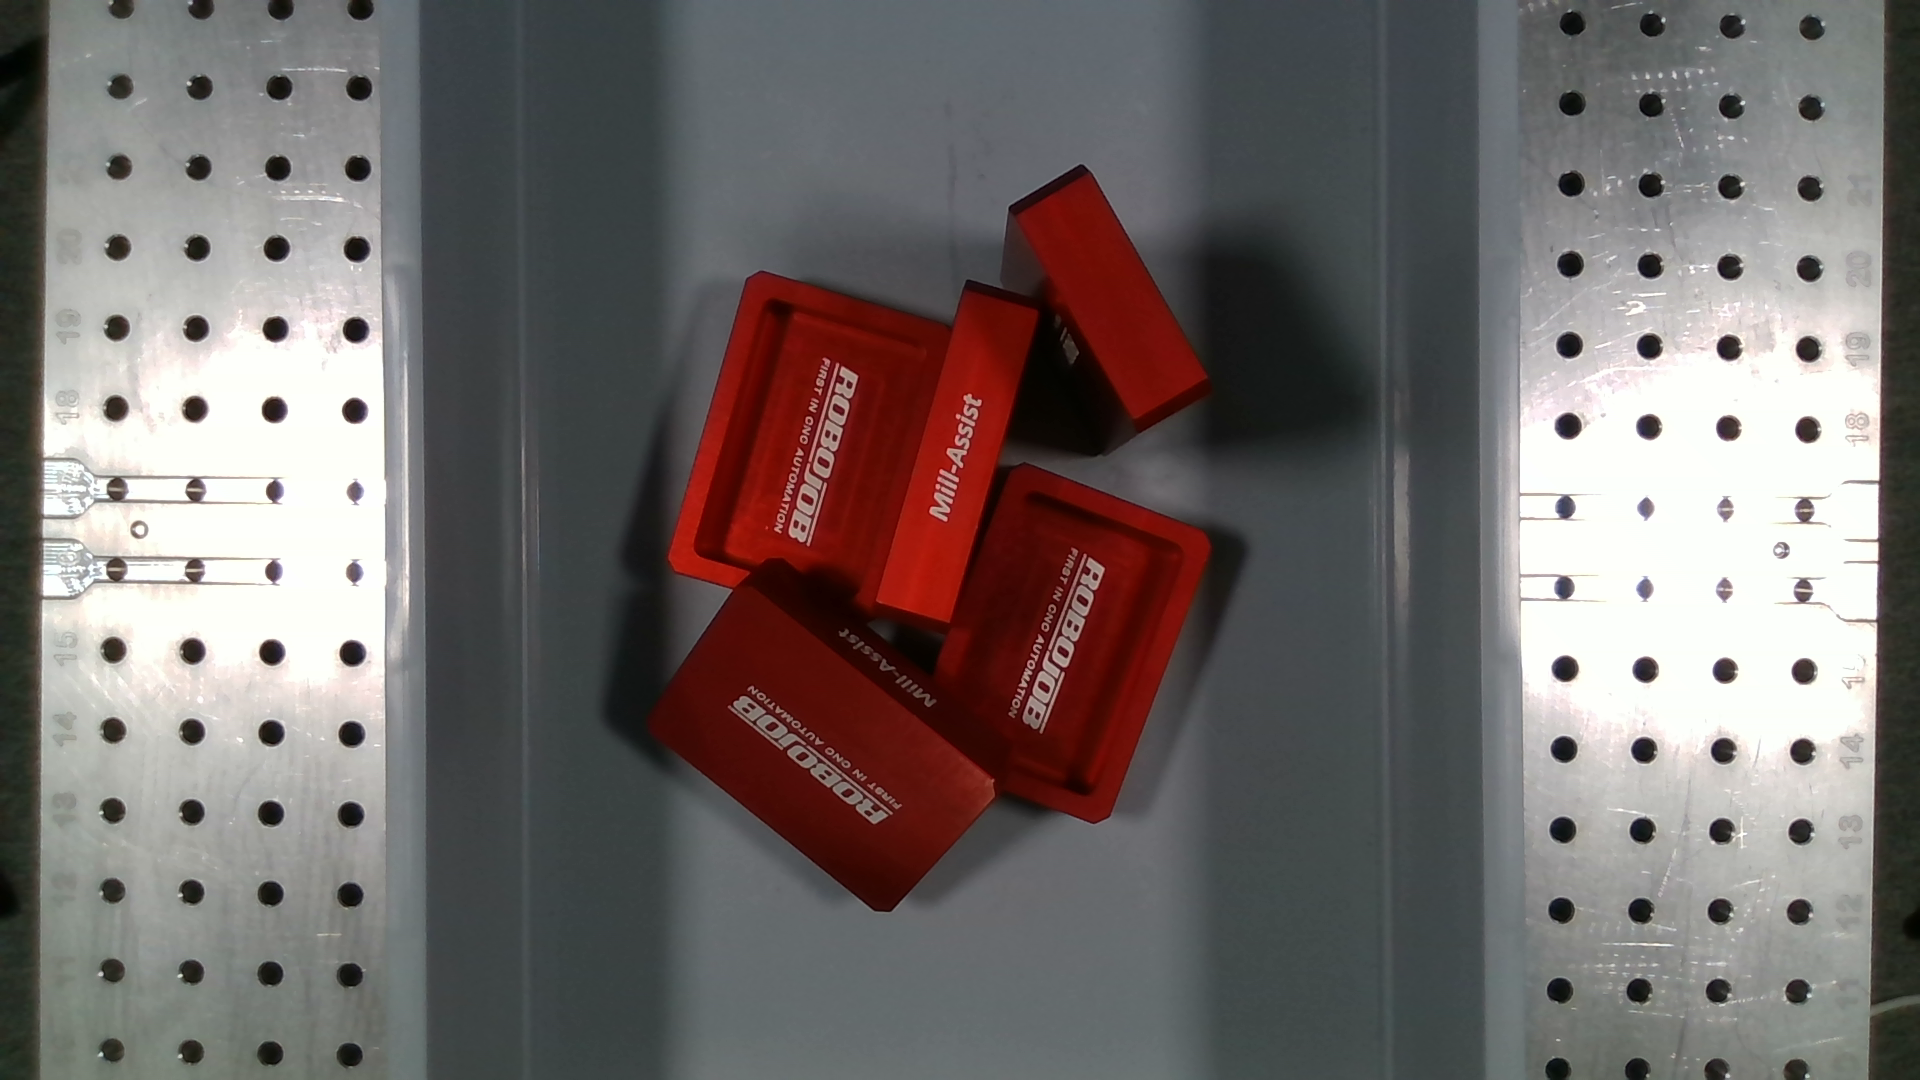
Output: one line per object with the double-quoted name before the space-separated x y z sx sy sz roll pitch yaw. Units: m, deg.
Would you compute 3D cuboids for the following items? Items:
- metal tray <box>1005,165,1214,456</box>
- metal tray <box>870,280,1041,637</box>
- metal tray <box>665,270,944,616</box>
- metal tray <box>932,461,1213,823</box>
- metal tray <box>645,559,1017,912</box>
"metal tray" 0.052 -0.082 0.532 0.030 0.130 0.090 -30 90 0
"metal tray" -0.002 -0.030 0.552 0.030 0.090 0.130 16 90 0
"metal tray" -0.062 -0.038 0.581 0.090 0.030 0.130 16 90 0
"metal tray" 0.041 0.042 0.584 0.090 0.030 0.130 21 90 0
"metal tray" -0.054 0.081 0.564 0.130 0.030 0.090 38 119 0
